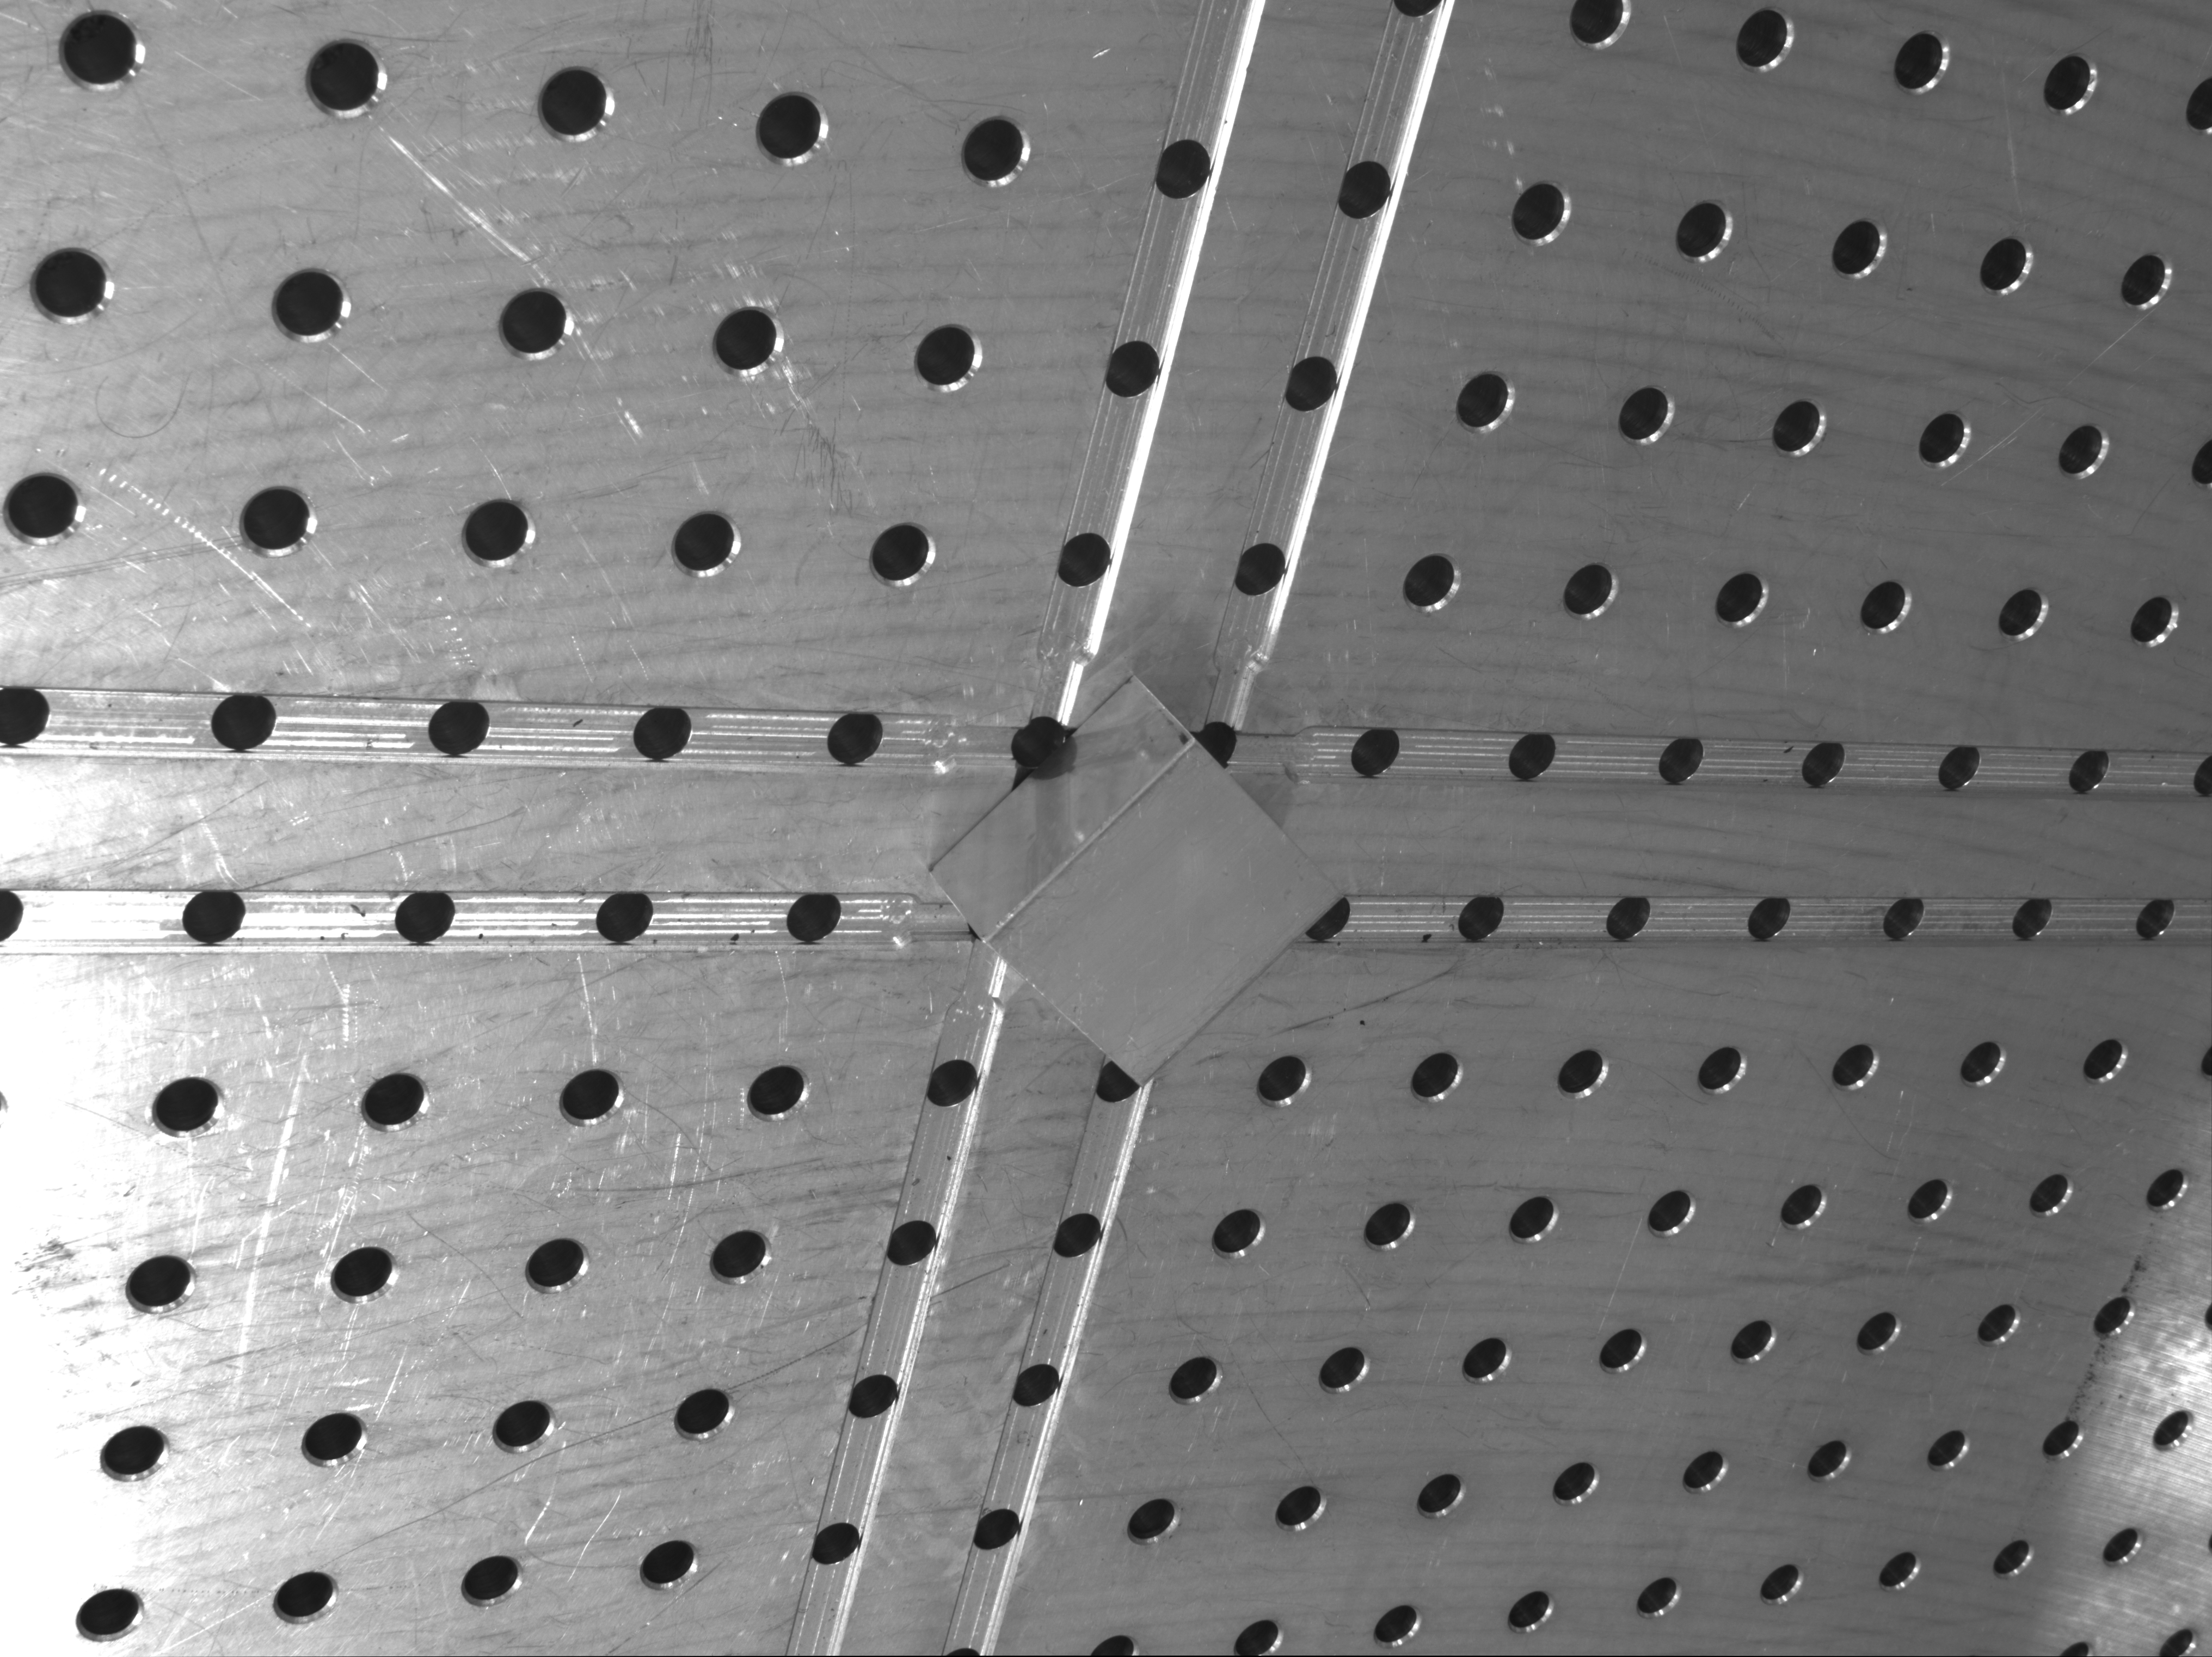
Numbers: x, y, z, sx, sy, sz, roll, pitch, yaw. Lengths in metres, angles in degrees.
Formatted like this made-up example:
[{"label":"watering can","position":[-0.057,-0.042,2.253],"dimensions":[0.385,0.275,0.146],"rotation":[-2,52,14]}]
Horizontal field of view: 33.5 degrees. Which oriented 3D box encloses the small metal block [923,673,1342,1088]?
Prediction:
[{"label":"small metal block","position":[0.005,0.010,0.649],"dimensions":[0.050,0.025,0.050],"rotation":[-44,129,2]}]
